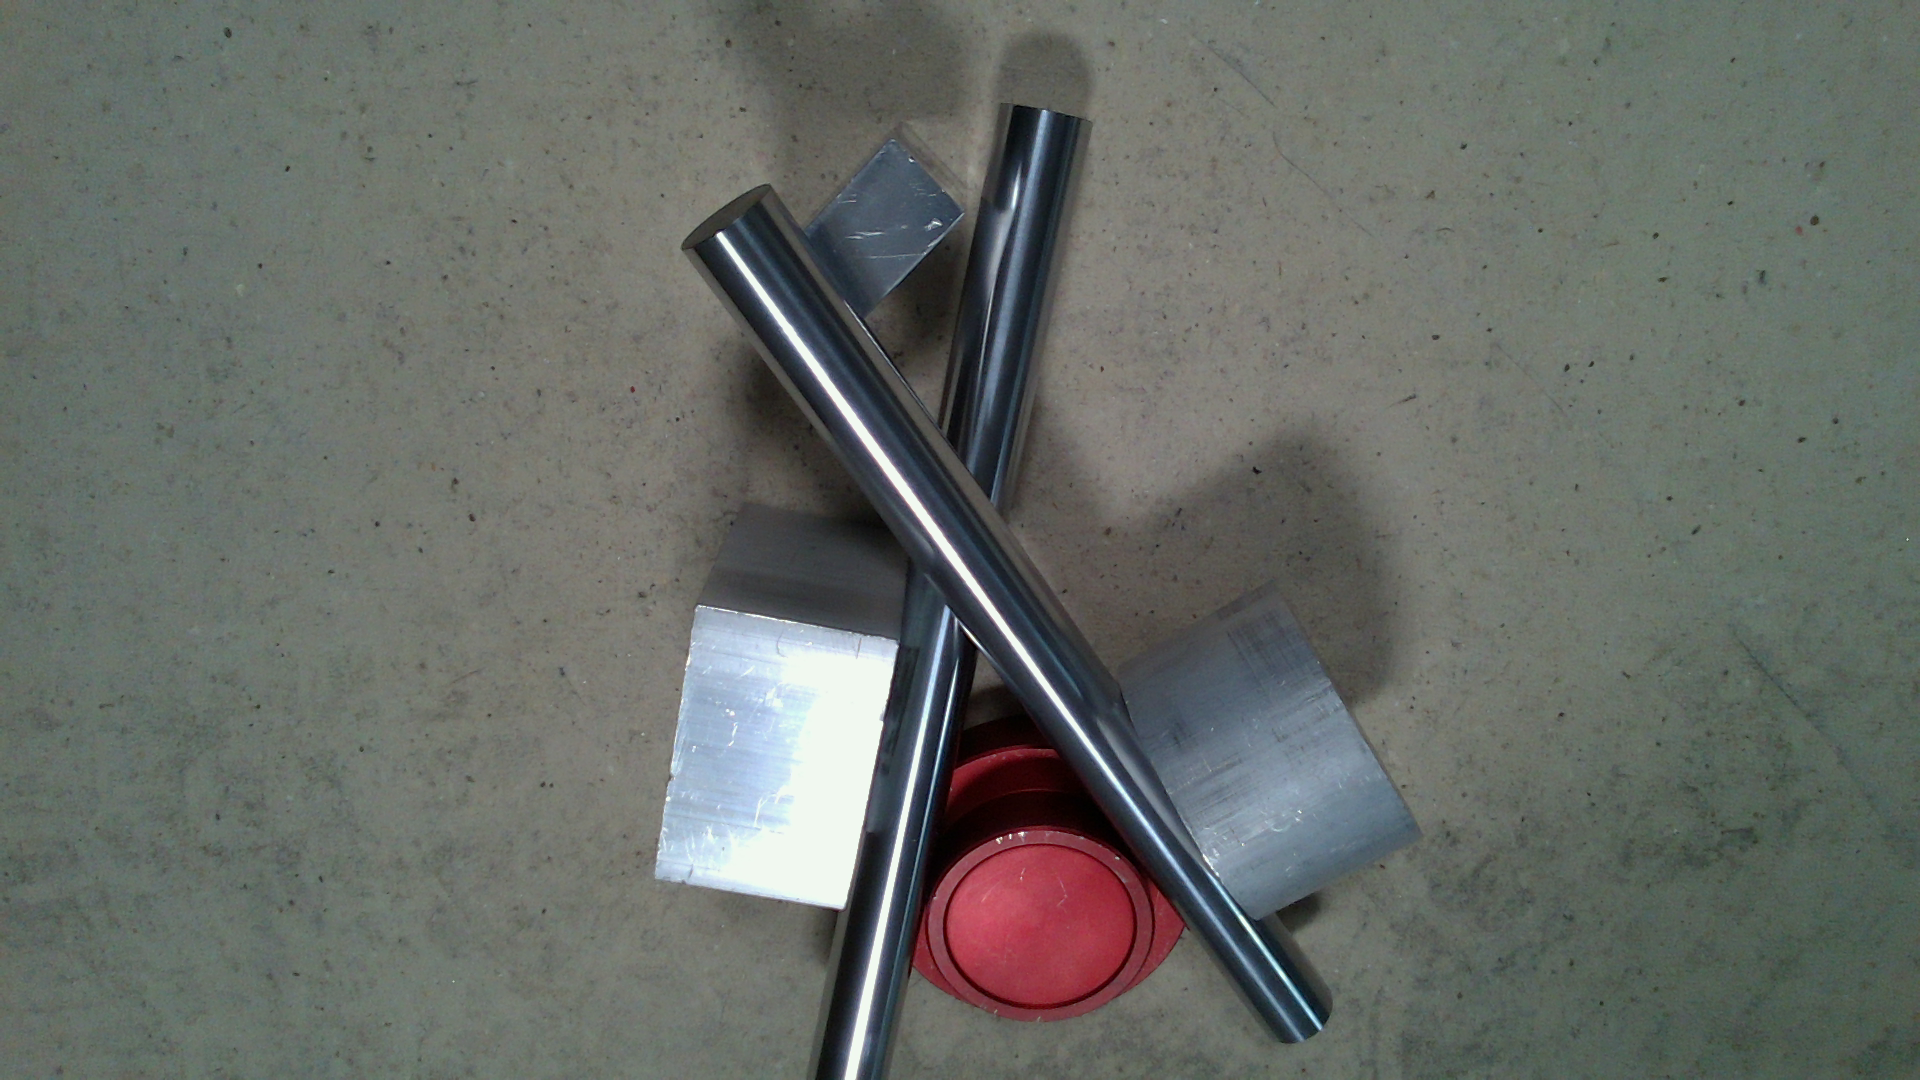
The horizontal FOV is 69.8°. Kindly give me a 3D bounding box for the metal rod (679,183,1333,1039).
[{"bbox_3d":[0.027,0.038,0.372,0.025,0.025,0.301,-31,116,11],"label":"metal rod"}]

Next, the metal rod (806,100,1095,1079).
[{"bbox_3d":[-0.007,0.032,0.390,0.025,0.025,0.300,11,104,-4],"label":"metal rod"}]

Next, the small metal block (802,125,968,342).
[{"bbox_3d":[-0.025,-0.078,0.351,0.025,0.050,0.050,43,105,-14],"label":"small metal block"}]

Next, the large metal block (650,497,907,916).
[{"bbox_3d":[-0.047,0.043,0.381,0.050,0.080,0.080,11,110,-4],"label":"large metal block"}]

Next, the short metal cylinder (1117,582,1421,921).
[{"bbox_3d":[0.086,0.059,0.387,0.050,0.080,0.080,-30,107,11],"label":"short metal cylinder"}]

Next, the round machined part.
[{"bbox_3d":[0.024,0.108,0.426,0.098,0.042,0.098,0,110,0],"label":"round machined part"}]
